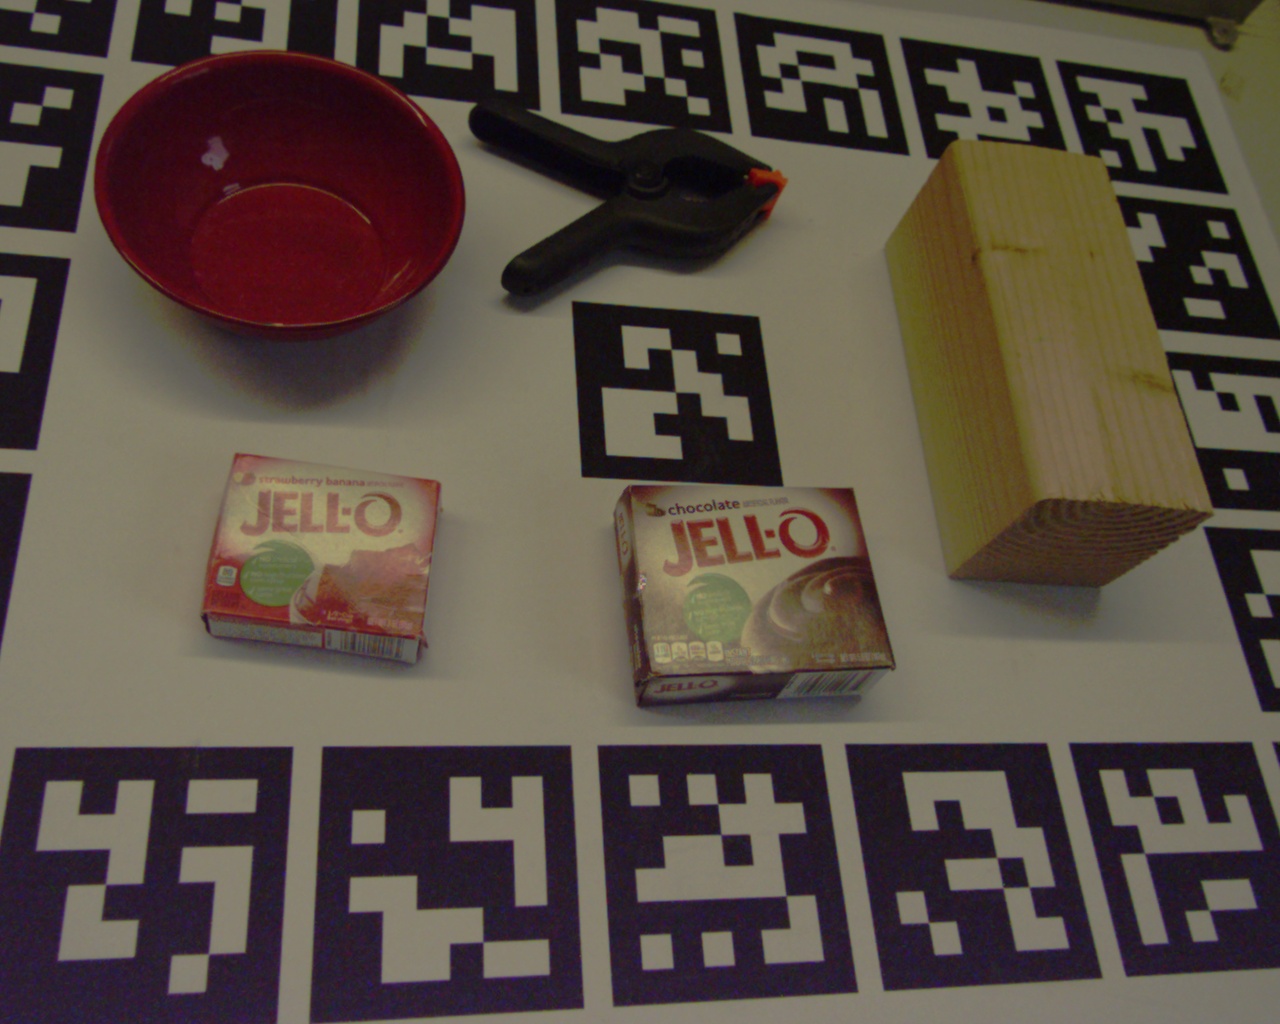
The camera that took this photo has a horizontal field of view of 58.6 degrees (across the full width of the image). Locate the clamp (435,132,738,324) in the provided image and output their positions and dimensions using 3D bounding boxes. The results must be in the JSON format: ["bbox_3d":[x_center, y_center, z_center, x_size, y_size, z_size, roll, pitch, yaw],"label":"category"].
[{"bbox_3d":[-0.023,-0.162,0.636,0.163,0.037,0.122,-7,66,-20],"label":"clamp"}]

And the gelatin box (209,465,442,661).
[{"bbox_3d":[-0.138,0.023,0.509,0.089,0.030,0.073,10,64,-10],"label":"gelatin box"}]

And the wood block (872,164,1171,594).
[{"bbox_3d":[0.195,-0.070,0.607,0.089,0.091,0.207,5,64,-14],"label":"wood block"}]

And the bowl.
[{"bbox_3d":[-0.173,-0.135,0.572,0.160,0.055,0.162,5,66,-13],"label":"bowl"}]

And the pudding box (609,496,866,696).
[{"bbox_3d":[0.043,0.040,0.544,0.113,0.039,0.090,1,68,-12],"label":"pudding box"}]
